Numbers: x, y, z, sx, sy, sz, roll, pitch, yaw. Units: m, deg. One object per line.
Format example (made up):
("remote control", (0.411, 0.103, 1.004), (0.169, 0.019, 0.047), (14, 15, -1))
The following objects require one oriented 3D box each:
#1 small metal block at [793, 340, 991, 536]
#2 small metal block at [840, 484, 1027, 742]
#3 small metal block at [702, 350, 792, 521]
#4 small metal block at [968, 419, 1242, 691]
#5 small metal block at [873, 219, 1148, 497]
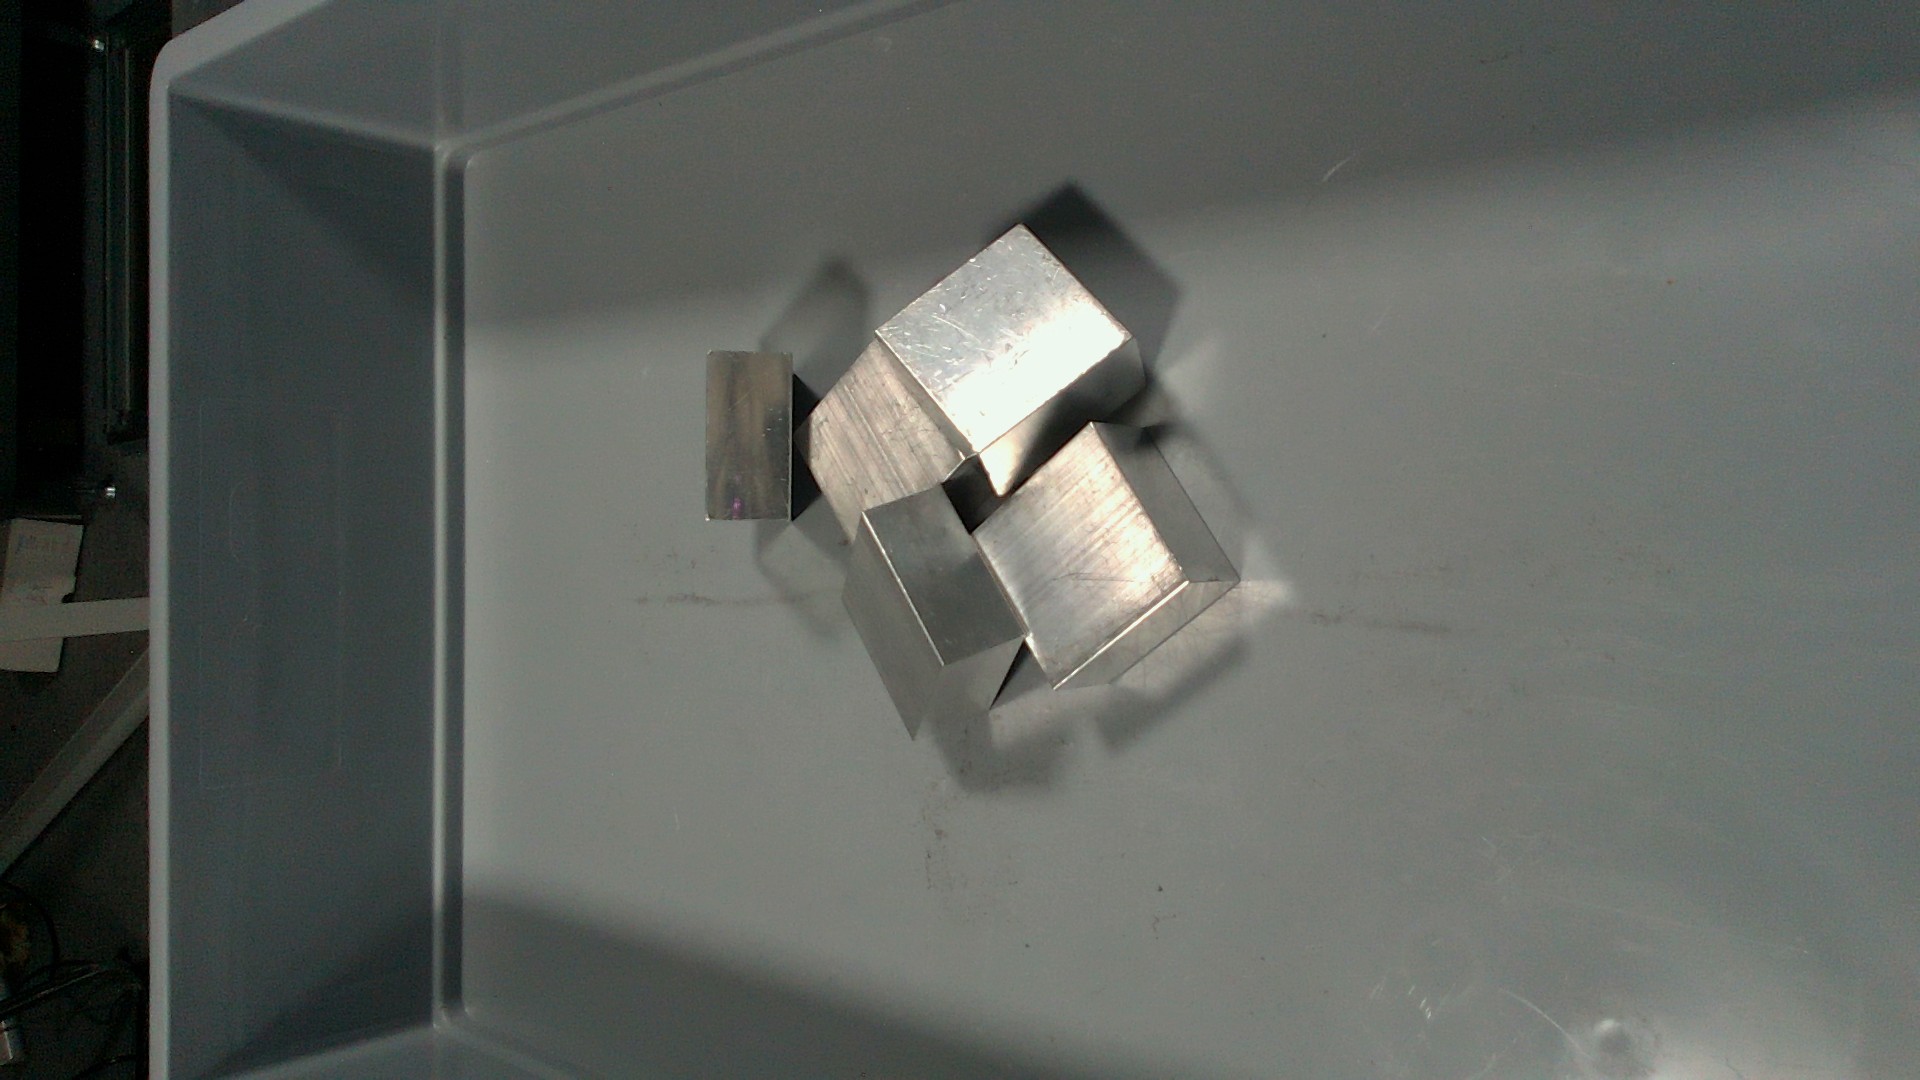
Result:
("small metal block", (-0.017, -0.028, 0.407), (0.050, 0.025, 0.050), (-45, 63, 31))
("small metal block", (-0.009, 0.021, 0.386), (0.050, 0.025, 0.050), (60, 156, 23))
("small metal block", (-0.066, -0.031, 0.431), (0.050, 0.025, 0.050), (-179, 89, -84))
("small metal block", (0.037, 0.004, 0.362), (0.050, 0.025, 0.050), (-44, 64, 31))
("small metal block", (0.014, -0.049, 0.367), (0.050, 0.025, 0.050), (-37, 62, -5))
